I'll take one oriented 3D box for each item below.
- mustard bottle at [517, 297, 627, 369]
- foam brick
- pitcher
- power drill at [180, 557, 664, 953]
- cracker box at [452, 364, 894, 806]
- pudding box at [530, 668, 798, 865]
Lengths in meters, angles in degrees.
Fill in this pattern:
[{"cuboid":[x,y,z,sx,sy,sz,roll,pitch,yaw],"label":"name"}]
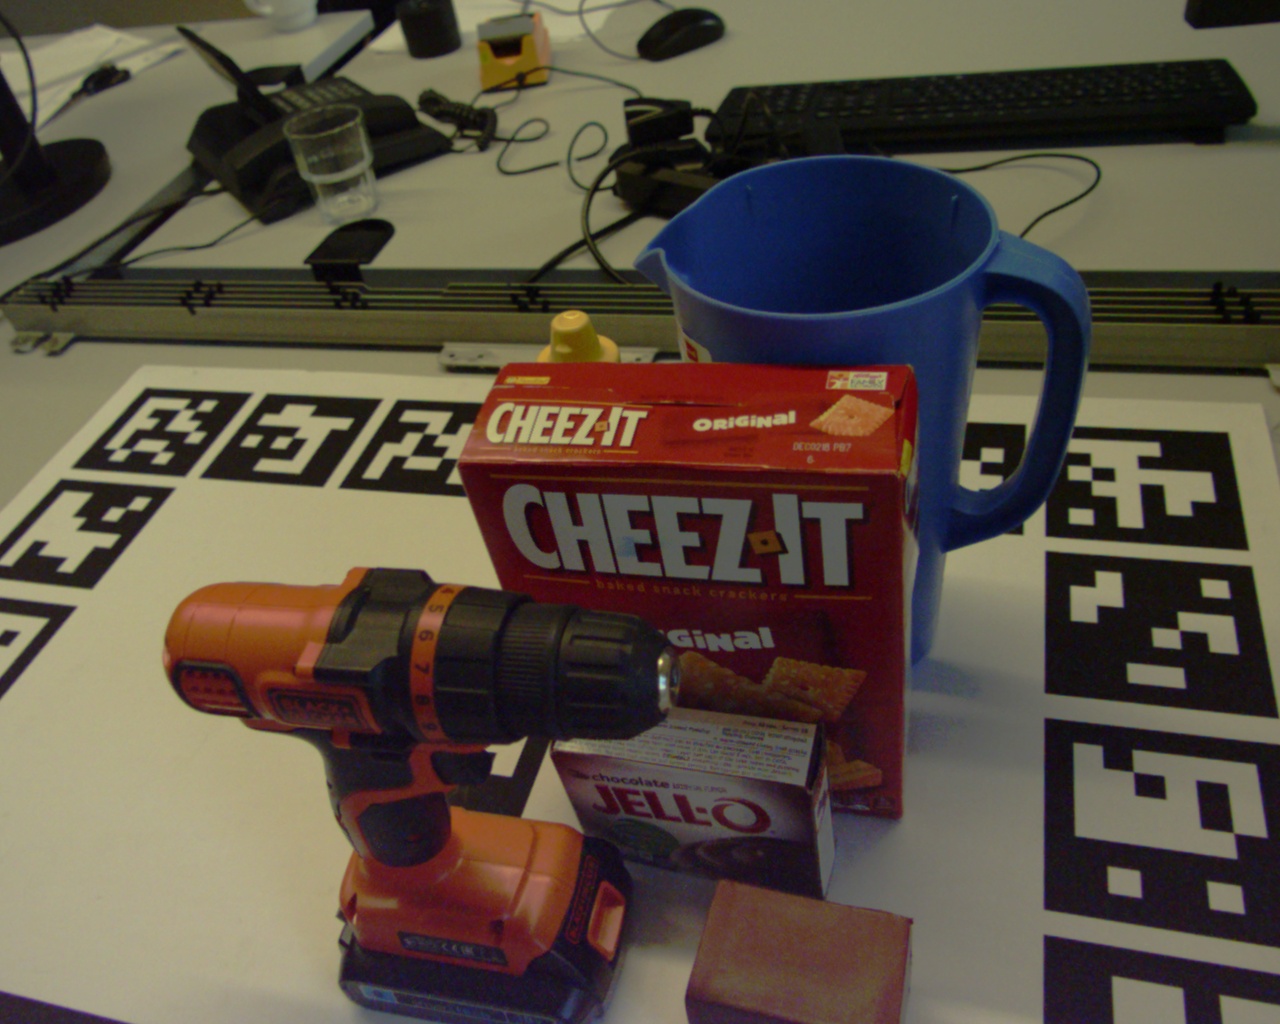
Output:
[{"cuboid":[-0.029,-0.032,0.615,0.097,0.190,0.058,15,49,27],"label":"mustard bottle"},{"cuboid":[0.055,0.184,0.480,0.079,0.051,0.052,6,47,20],"label":"foam brick"},{"cuboid":[0.096,-0.030,0.566,0.191,0.241,0.133,8,46,24],"label":"pitcher"},{"cuboid":[-0.073,0.099,0.452,0.186,0.186,0.057,4,41,17],"label":"power drill"},{"cuboid":[0.025,0.040,0.515,0.166,0.212,0.072,2,42,18],"label":"cracker box"},{"cuboid":[0.013,0.112,0.520,0.115,0.089,0.038,3,43,21],"label":"pudding box"}]
